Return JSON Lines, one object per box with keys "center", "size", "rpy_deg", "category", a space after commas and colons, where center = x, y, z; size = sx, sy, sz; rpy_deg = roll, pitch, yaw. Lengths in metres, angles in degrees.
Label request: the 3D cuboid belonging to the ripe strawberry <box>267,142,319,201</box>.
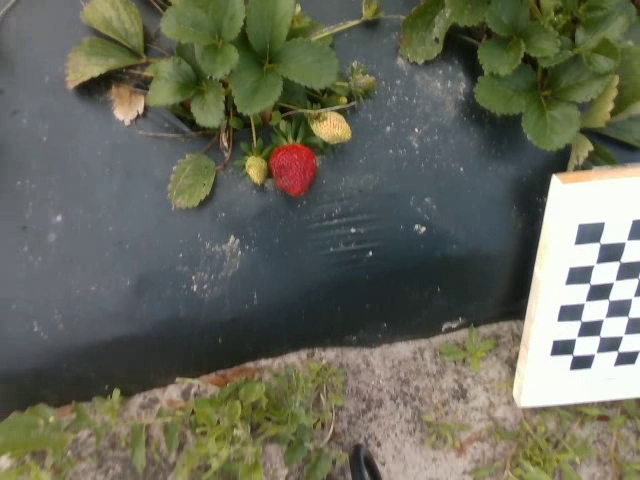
{"center": [-0.022, -0.056, 0.562], "size": [0.046, 0.059, 0.046], "rpy_deg": [-8, -32, 4], "category": "ripe strawberry"}
